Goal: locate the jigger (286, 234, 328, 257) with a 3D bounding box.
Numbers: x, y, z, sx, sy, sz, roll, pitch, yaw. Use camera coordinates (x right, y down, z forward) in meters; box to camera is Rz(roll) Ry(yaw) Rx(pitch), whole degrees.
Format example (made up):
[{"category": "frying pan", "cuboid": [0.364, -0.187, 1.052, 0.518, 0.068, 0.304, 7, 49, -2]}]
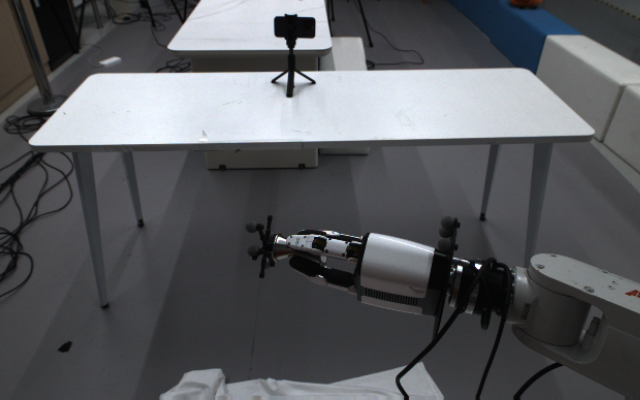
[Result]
[{"category": "jigger", "cuboid": [-0.019, 0.063, 0.667, 0.071, 0.043, 0.043, 2, 34, 14]}]
